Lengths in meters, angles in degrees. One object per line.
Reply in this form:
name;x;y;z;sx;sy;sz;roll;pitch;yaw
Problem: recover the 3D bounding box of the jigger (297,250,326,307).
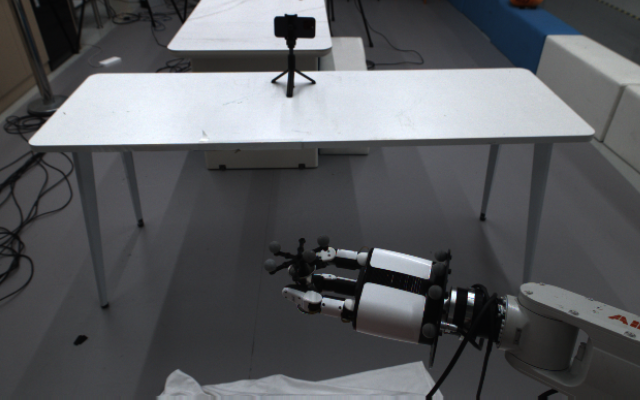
jigger;-0.018;0.121;0.687;0.043;0.071;0.043;-10;32;6
